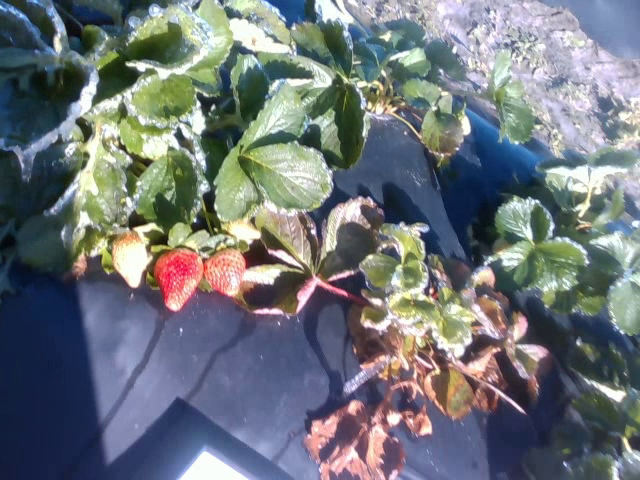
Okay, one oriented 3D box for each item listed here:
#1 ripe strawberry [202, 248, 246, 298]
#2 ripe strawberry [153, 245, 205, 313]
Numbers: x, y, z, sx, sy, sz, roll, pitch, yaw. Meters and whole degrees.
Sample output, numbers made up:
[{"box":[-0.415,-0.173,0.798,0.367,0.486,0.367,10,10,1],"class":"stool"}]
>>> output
[{"box":[-0.070,0.026,0.424,0.036,0.041,0.030,-25,-5,-3],"class":"ripe strawberry"},{"box":[-0.104,0.034,0.404,0.036,0.052,0.040,-1,-38,-3],"class":"ripe strawberry"}]
